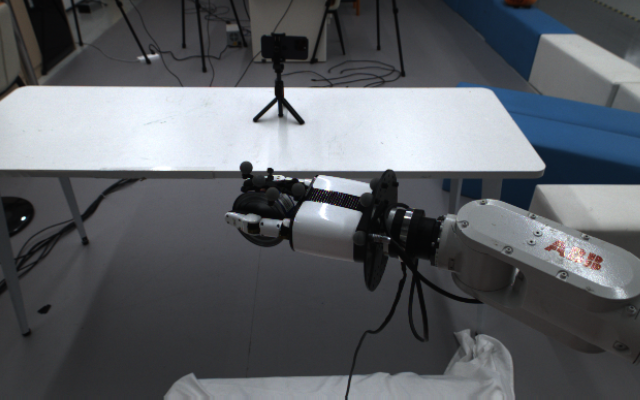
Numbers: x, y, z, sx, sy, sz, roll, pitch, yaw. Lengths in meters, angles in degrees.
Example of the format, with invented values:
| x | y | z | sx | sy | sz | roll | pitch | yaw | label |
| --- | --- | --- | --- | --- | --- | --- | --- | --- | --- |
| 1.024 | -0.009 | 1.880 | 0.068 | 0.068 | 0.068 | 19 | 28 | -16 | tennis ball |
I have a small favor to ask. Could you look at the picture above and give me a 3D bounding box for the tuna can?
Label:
| x | y | z | sx | sy | sz | roll | pitch | yaw | label |
| --- | --- | --- | --- | --- | --- | --- | --- | --- | --- |
| -0.075 | 0.019 | 0.671 | 0.085 | 0.085 | 0.034 | 16 | 29 | 19 | tuna can |
